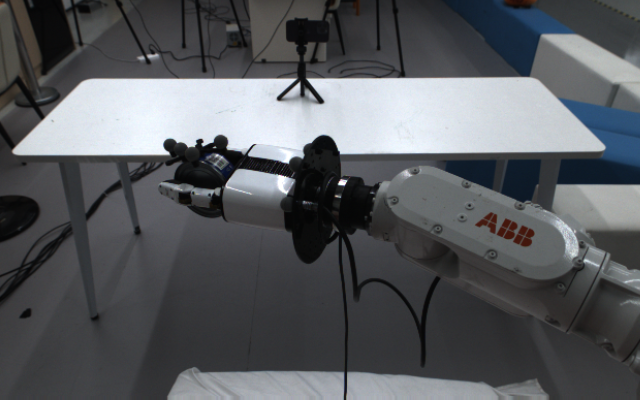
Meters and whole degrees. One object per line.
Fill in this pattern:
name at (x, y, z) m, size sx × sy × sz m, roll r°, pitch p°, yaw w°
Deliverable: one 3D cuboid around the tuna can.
tuna can at (-0.147, -0.019, 0.643) m, size 0.085 × 0.085 × 0.034 m, roll 14°, pitch 33°, yaw 16°
